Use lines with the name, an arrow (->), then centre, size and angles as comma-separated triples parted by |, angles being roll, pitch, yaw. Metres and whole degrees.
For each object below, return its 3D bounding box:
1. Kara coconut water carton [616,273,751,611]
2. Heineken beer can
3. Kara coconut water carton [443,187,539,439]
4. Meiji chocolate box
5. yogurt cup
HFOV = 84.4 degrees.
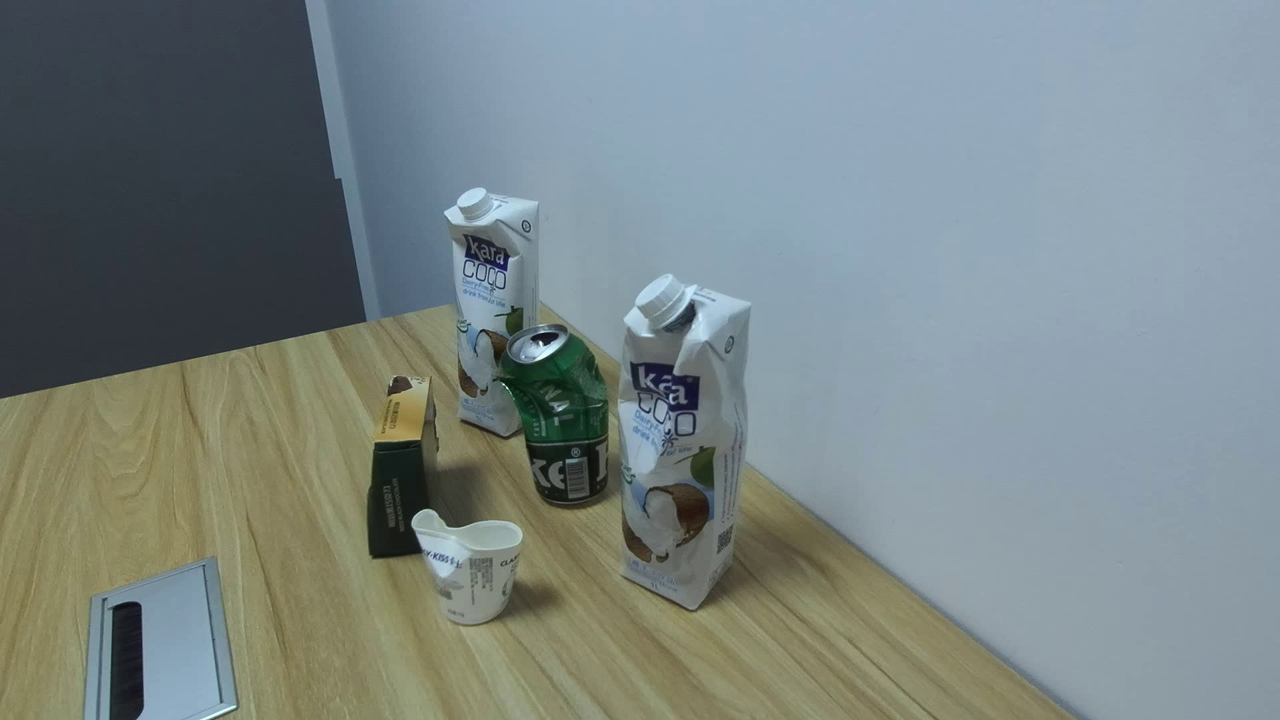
Kara coconut water carton -> 0.027, 0.054, 0.494 | 0.079, 0.256, 0.083 | -27, 39, -37
Heineken beer can -> -0.067, 0.049, 0.616 | 0.079, 0.159, 0.067 | -22, 30, -23
Kara coconut water carton -> -0.140, -0.048, 0.699 | 0.099, 0.244, 0.071 | 14, 28, 28
Meiji chocolate box -> -0.201, 0.085, 0.593 | 0.058, 0.110, 0.113 | 0, 26, -14
yogurt cup -> -0.122, 0.147, 0.514 | 0.075, 0.071, 0.053 | -5, 29, -9
